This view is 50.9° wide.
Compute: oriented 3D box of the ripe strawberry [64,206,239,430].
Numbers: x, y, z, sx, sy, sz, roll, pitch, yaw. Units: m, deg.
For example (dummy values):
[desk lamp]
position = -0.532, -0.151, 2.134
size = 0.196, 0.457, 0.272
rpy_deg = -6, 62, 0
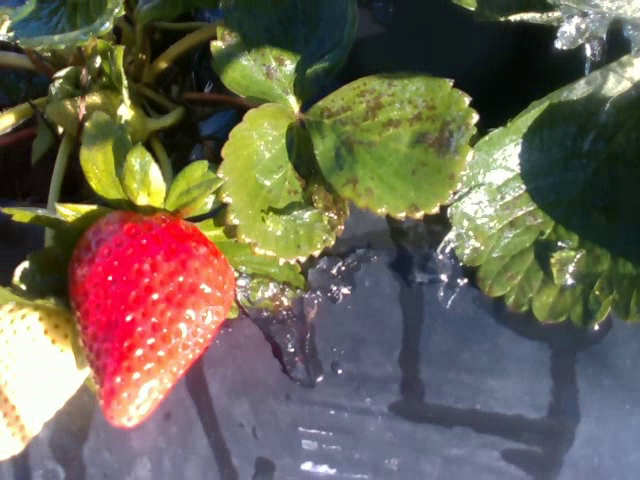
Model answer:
[ripe strawberry]
position = -0.043, 0.025, 0.170
size = 0.042, 0.061, 0.046
rpy_deg = -2, -38, 16
